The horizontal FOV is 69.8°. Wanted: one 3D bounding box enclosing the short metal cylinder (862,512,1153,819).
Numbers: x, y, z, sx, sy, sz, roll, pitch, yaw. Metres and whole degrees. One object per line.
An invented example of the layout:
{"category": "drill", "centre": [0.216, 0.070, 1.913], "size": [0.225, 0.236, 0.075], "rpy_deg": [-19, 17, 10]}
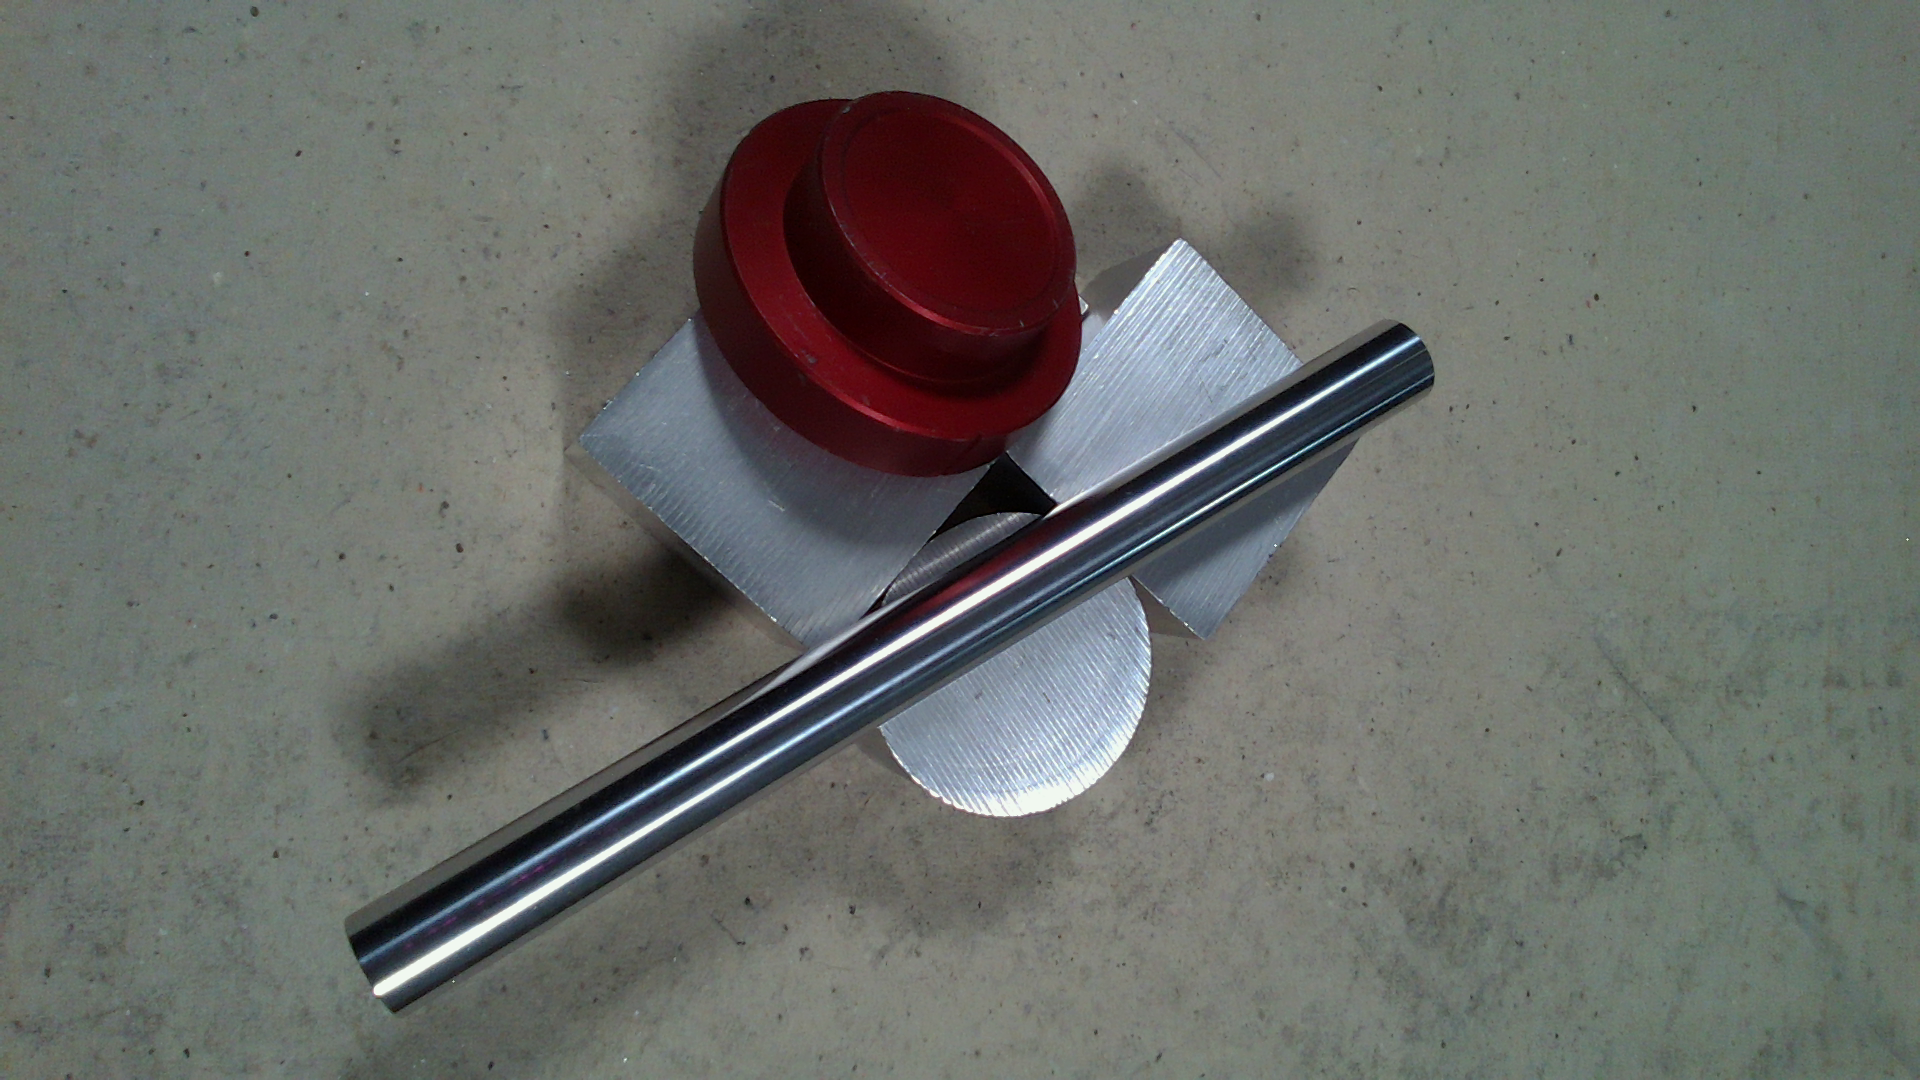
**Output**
{"category": "short metal cylinder", "centre": [0.006, 0.033, 0.382], "size": [0.080, 0.050, 0.080], "rpy_deg": [0, 90, -20]}

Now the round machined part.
{"category": "round machined part", "centre": [-0.011, -0.068, 0.333], "size": [0.098, 0.042, 0.098], "rpy_deg": [15, 58, -25]}

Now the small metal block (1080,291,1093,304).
{"category": "small metal block", "centre": [0.001, -0.066, 0.393], "size": [0.050, 0.025, 0.050], "rpy_deg": [44, 76, -15]}

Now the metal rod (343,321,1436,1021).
{"category": "metal rod", "centre": [-0.001, 0.021, 0.340], "size": [0.301, 0.025, 0.025], "rpy_deg": [-30, 100, -17]}

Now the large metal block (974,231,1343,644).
{"category": "large metal block", "centre": [0.056, -0.028, 0.401], "size": [0.080, 0.050, 0.080], "rpy_deg": [43, 77, -15]}

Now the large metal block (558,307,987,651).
{"category": "large metal block", "centre": [-0.046, -0.026, 0.362], "size": [0.080, 0.050, 0.080], "rpy_deg": [44, 76, -15]}
